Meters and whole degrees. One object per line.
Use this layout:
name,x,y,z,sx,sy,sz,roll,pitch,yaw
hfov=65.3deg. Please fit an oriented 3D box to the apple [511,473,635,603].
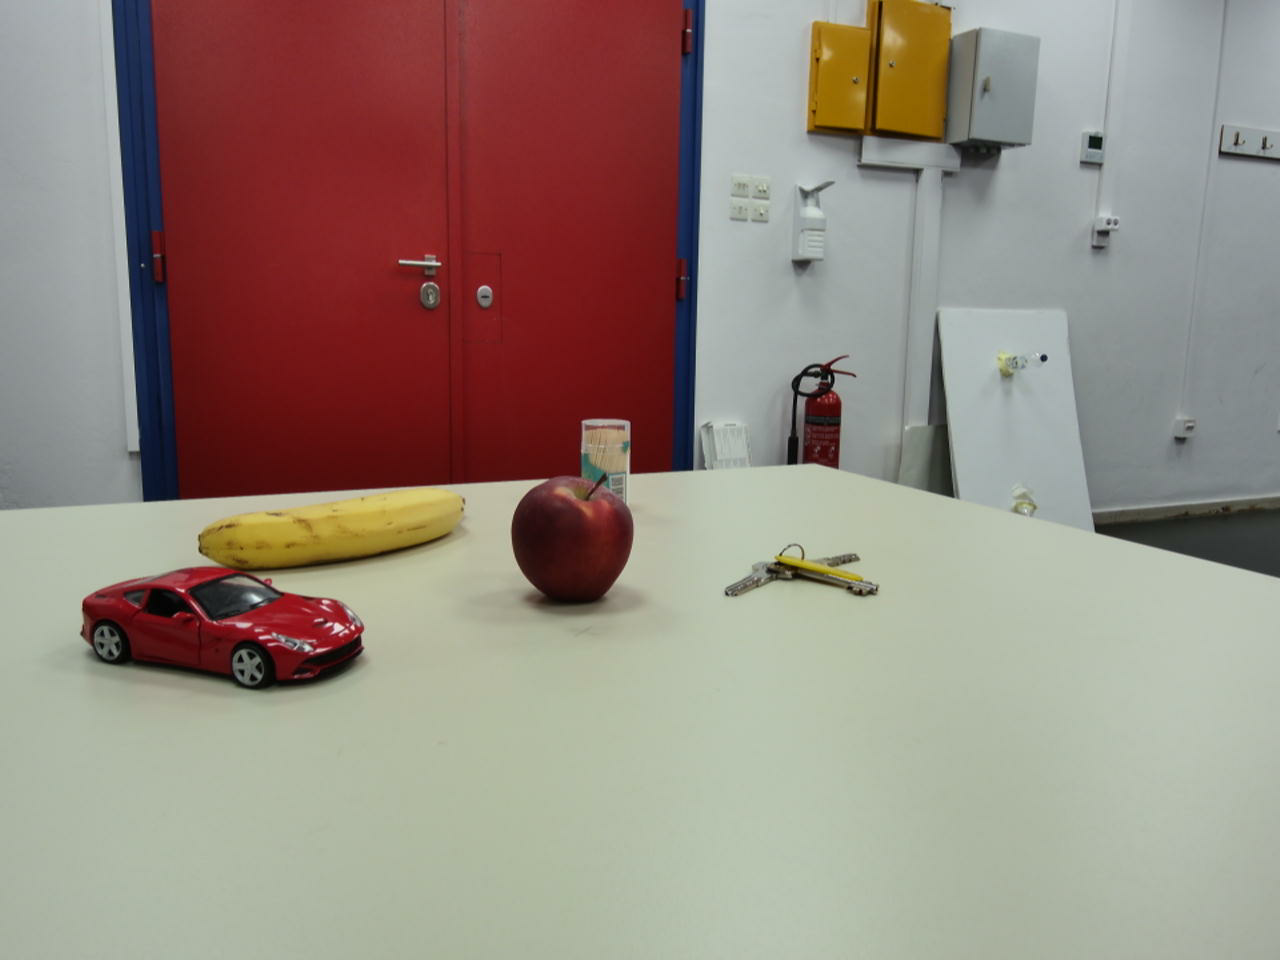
apple,-0.038,0.033,0.572,0.070,0.072,0.070,0,8,0
